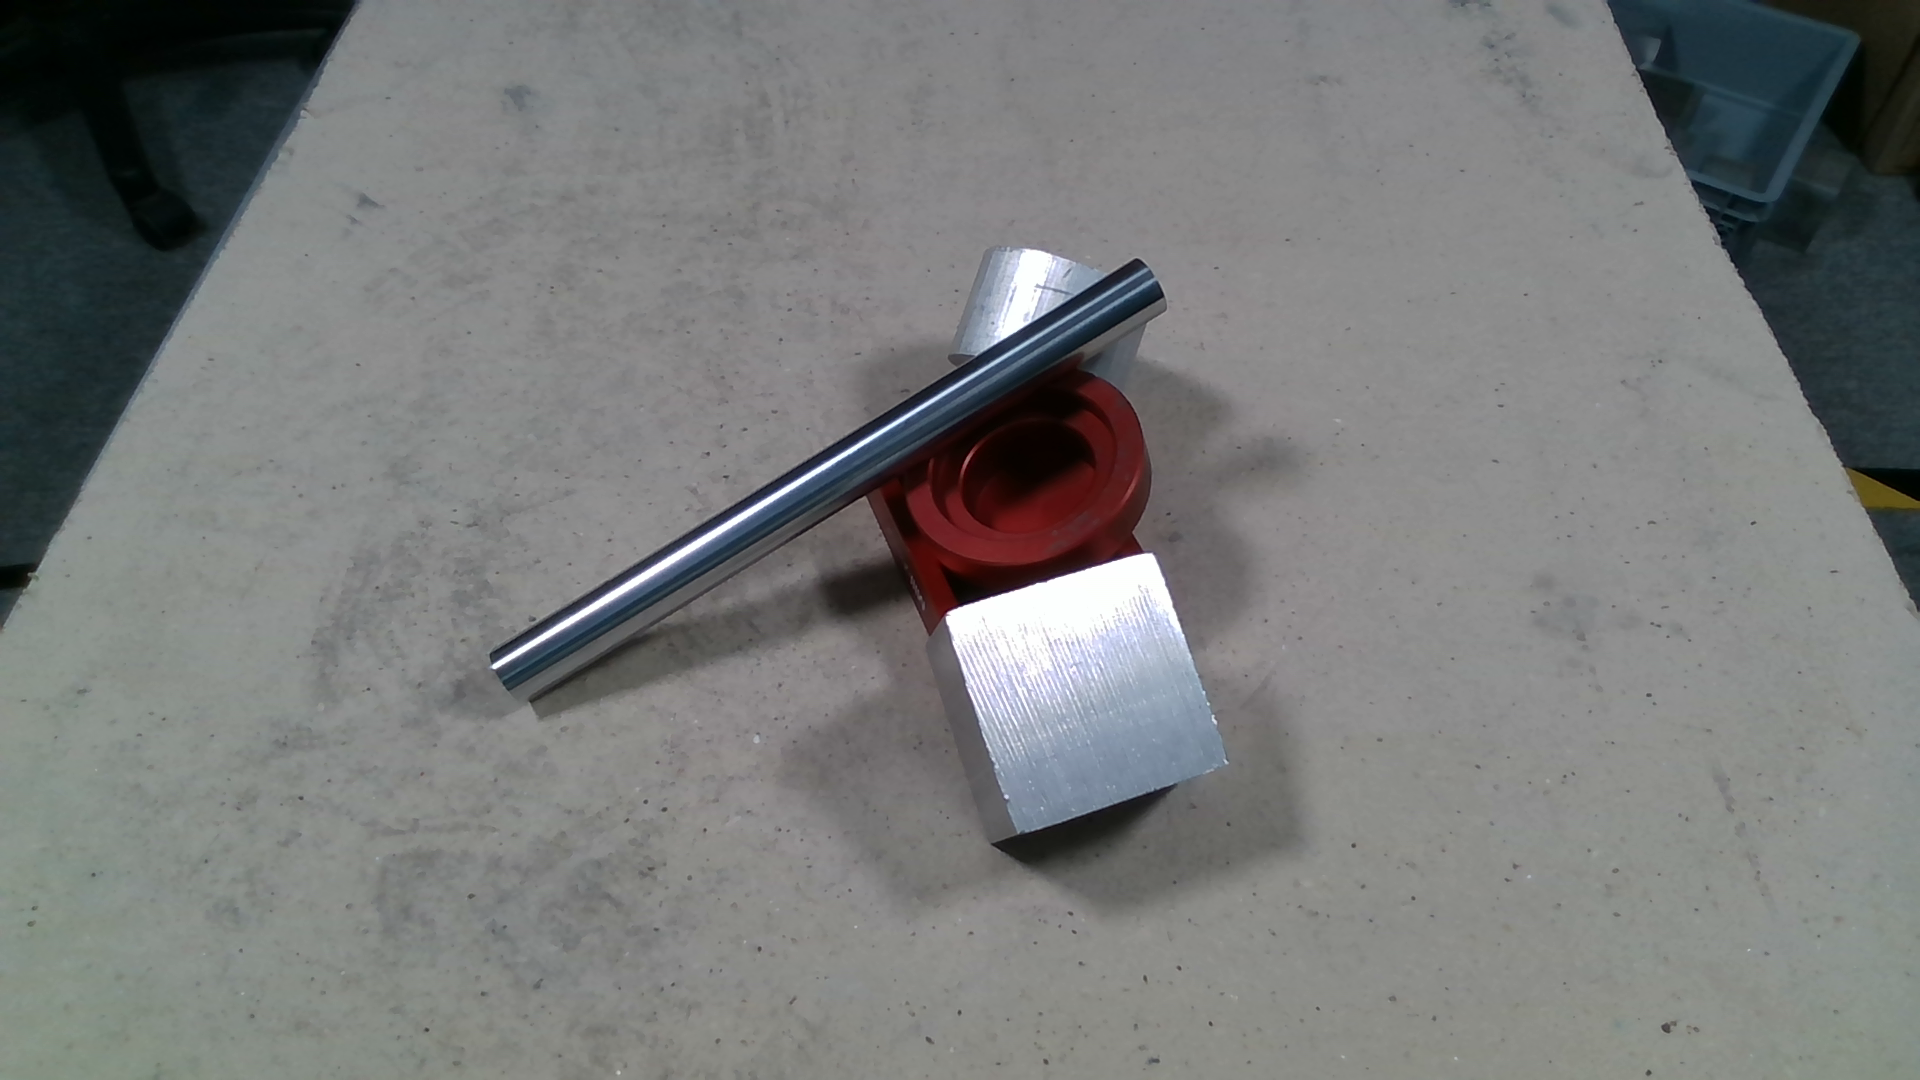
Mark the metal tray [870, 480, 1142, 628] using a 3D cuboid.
[{"bbox_3d":[0.019,-0.002,0.586,0.090,0.030,0.130,-16,52,-13],"label":"metal tray"}]

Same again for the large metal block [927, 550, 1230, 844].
[{"bbox_3d":[0.040,0.058,0.501,0.080,0.050,0.080,-16,78,-13],"label":"large metal block"}]

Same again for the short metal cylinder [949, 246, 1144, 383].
[{"bbox_3d":[0.040,-0.093,0.621,0.080,0.080,0.050,19,88,15],"label":"short metal cylinder"}]

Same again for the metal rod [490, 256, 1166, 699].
[{"bbox_3d":[-0.051,-0.026,0.552,0.300,0.025,0.025,-32,55,-3],"label":"metal rod"}]

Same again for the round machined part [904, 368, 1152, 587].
[{"bbox_3d":[0.030,-0.022,0.563,0.098,0.042,0.098,-9,54,12],"label":"round machined part"}]
